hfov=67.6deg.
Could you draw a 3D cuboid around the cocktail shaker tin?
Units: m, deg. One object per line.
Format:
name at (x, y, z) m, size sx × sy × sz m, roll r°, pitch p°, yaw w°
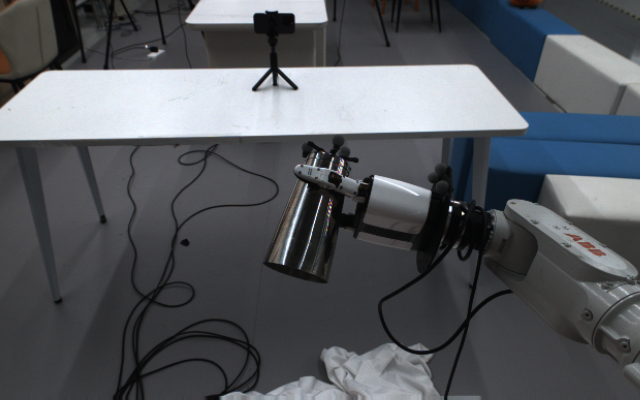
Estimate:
cocktail shaker tin at (-0.010, 0.020, 0.684) m, size 0.093 × 0.093 × 0.170 m, roll 12°, pitch 72°, yaw 14°
